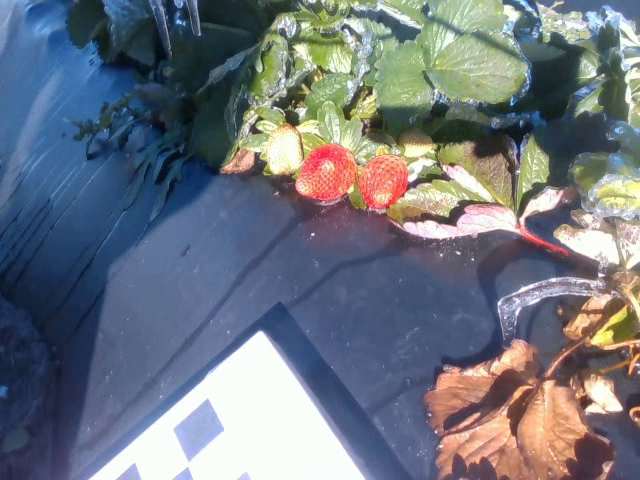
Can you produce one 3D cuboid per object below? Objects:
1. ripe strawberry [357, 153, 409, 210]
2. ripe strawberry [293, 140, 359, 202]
[{"bbox_3d":[0.040,-0.035,0.374,0.036,0.041,0.030,-22,-46,16],"label":"ripe strawberry"},{"bbox_3d":[0.000,-0.037,0.376,0.036,0.040,0.051,0,21,30],"label":"ripe strawberry"}]
